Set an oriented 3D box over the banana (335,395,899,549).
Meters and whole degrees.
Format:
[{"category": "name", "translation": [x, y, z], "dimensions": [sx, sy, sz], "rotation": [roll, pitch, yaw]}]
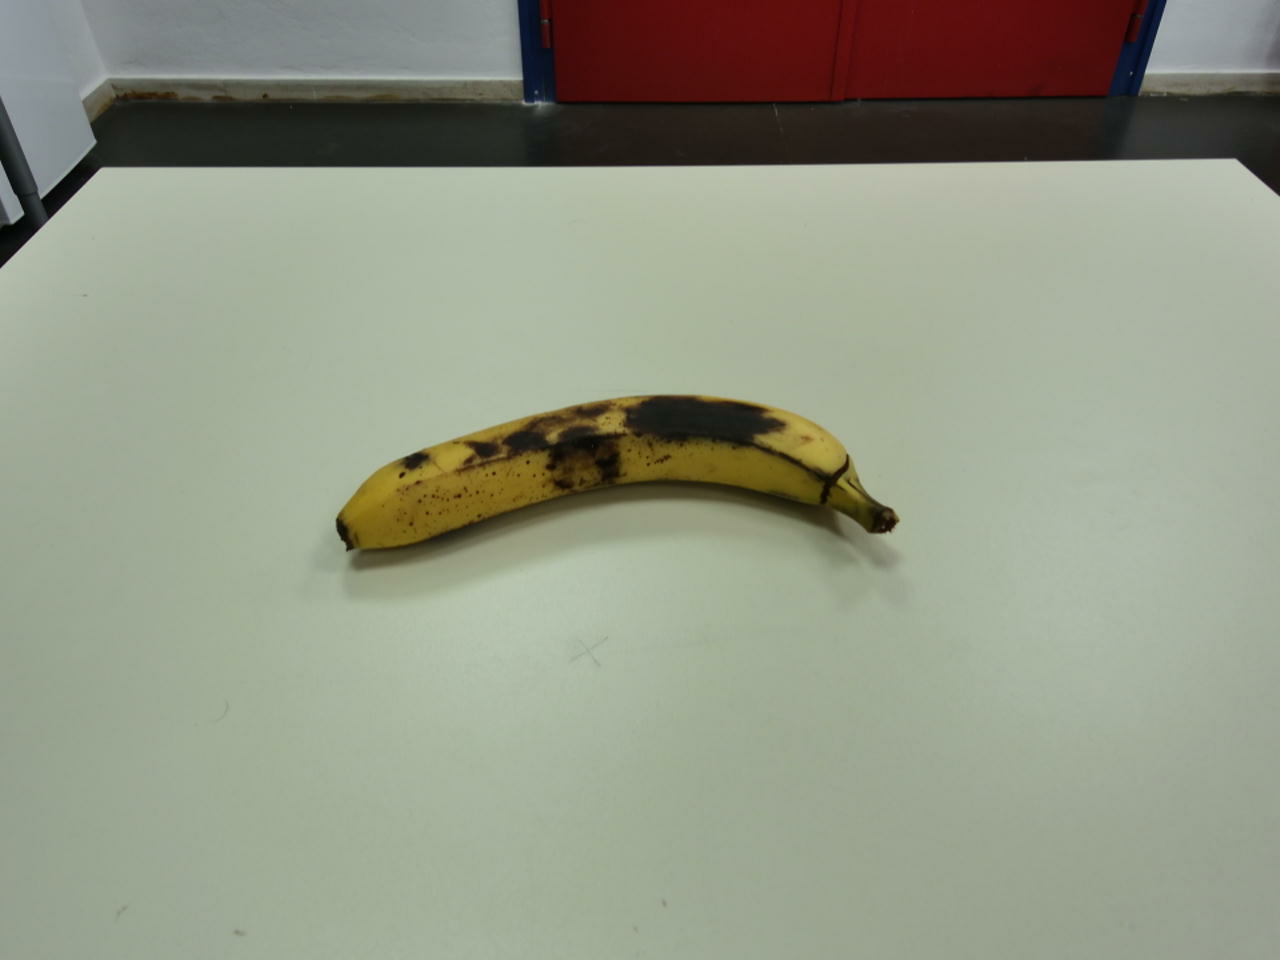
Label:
[{"category": "banana", "translation": [-0.010, -0.006, 0.424], "dimensions": [0.222, 0.037, 0.084], "rotation": [0, 38, 0]}]
